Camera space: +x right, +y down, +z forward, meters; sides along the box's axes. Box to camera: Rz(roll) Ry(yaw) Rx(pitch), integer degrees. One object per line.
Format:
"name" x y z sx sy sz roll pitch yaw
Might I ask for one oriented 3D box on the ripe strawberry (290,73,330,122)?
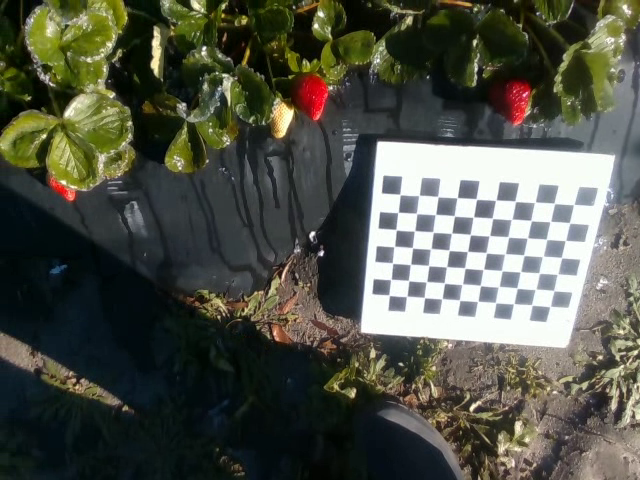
"ripe strawberry" -0.008 -0.161 0.678 0.042 0.061 0.046 -10 -20 6

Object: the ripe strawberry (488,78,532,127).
"ripe strawberry" 0.220 -0.157 0.665 0.048 0.061 0.044 -3 -10 3
